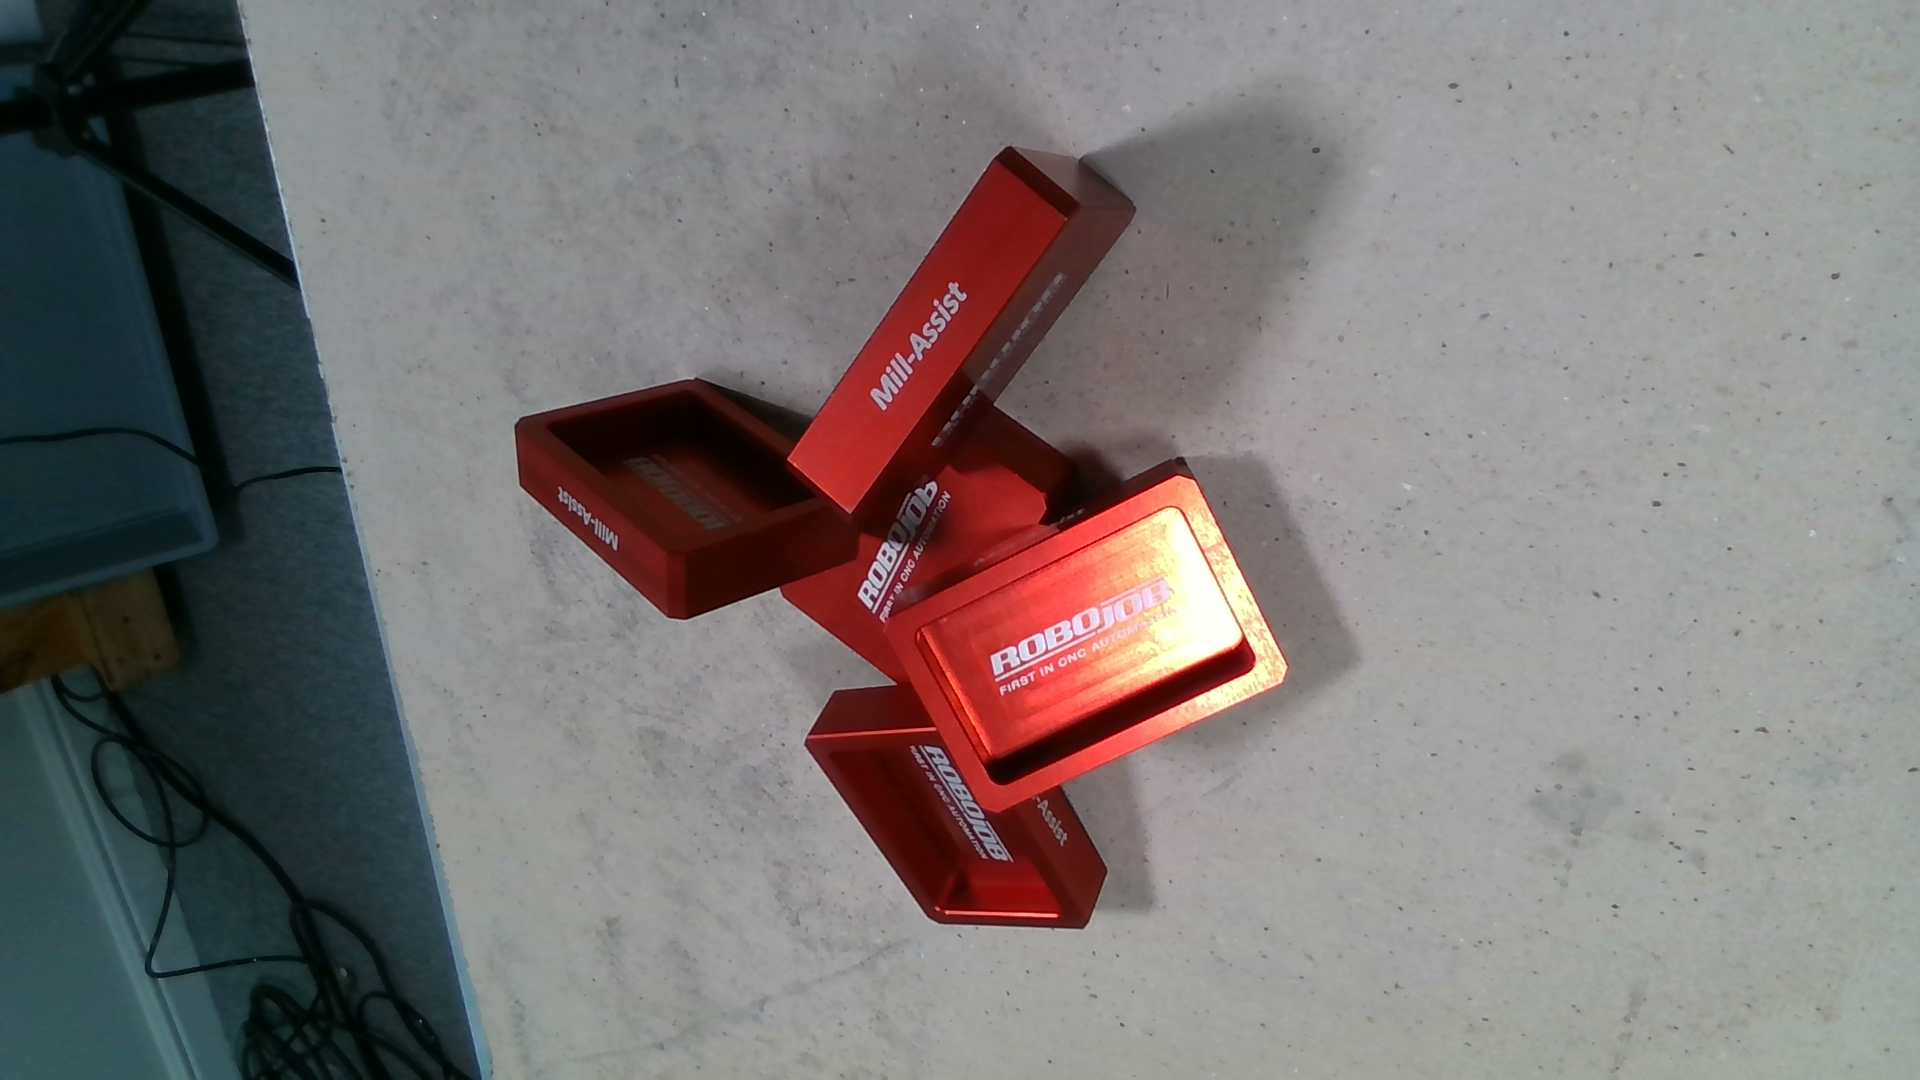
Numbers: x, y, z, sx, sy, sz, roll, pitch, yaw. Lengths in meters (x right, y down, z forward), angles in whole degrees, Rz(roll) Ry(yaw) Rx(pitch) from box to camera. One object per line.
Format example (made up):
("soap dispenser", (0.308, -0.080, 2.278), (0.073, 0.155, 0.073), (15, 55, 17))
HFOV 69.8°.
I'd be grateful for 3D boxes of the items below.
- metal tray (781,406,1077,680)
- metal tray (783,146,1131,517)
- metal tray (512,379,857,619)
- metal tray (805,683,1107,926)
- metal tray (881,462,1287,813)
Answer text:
("metal tray", (-0.018, -0.003, 0.586), (0.090, 0.030, 0.130), (36, 128, 10))
("metal tray", (0.001, -0.072, 0.478), (0.030, 0.090, 0.130), (41, 112, 6))
("metal tray", (-0.115, -0.022, 0.571), (0.130, 0.090, 0.030), (33, 130, 38))
("metal tray", (-0.001, 0.121, 0.622), (0.090, 0.030, 0.130), (-9, 125, 34))
("metal tray", (0.047, 0.037, 0.531), (0.130, 0.030, 0.090), (-27, 101, 9))
